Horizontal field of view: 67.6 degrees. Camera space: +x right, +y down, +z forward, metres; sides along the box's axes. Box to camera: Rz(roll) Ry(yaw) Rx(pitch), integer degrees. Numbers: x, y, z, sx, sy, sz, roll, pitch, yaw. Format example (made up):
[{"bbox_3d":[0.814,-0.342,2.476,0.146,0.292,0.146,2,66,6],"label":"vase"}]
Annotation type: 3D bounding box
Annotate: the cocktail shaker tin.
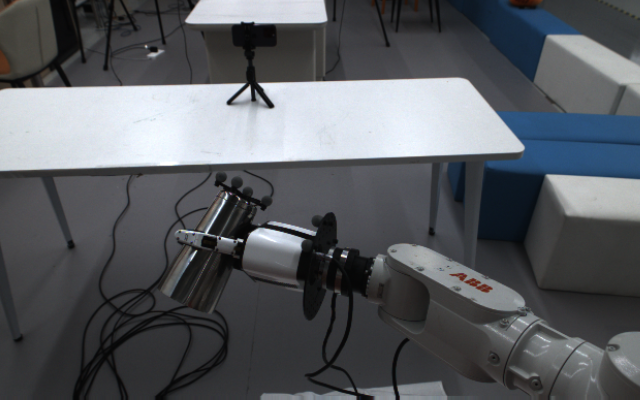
[{"bbox_3d":[-0.162,0.072,0.734,0.093,0.093,0.170,22,81,26],"label":"cocktail shaker tin"}]
